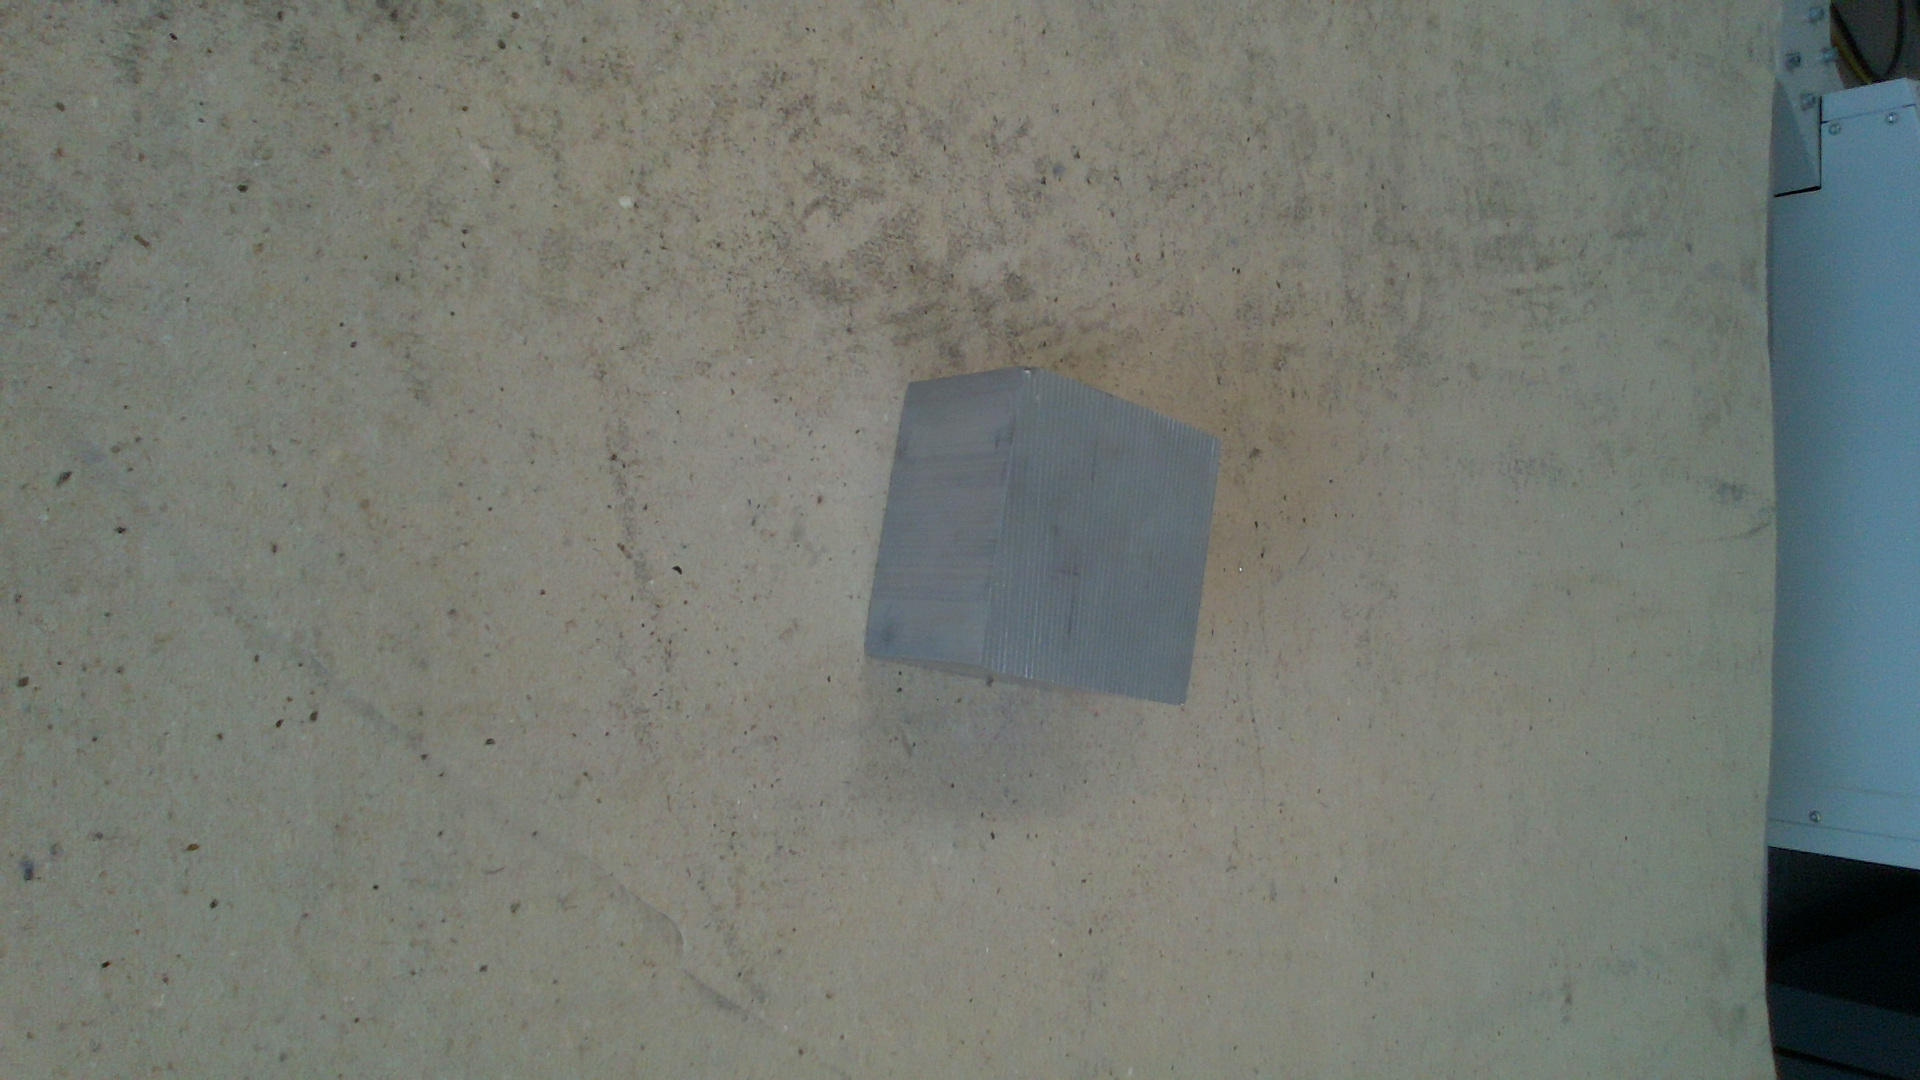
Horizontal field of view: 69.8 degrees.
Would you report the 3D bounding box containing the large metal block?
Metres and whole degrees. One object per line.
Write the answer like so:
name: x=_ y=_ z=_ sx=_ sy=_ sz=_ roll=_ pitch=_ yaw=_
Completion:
large metal block: x=0.024 y=0.001 z=0.393 sx=0.080 sy=0.050 sz=0.080 roll=15 pitch=81 yaw=-40
